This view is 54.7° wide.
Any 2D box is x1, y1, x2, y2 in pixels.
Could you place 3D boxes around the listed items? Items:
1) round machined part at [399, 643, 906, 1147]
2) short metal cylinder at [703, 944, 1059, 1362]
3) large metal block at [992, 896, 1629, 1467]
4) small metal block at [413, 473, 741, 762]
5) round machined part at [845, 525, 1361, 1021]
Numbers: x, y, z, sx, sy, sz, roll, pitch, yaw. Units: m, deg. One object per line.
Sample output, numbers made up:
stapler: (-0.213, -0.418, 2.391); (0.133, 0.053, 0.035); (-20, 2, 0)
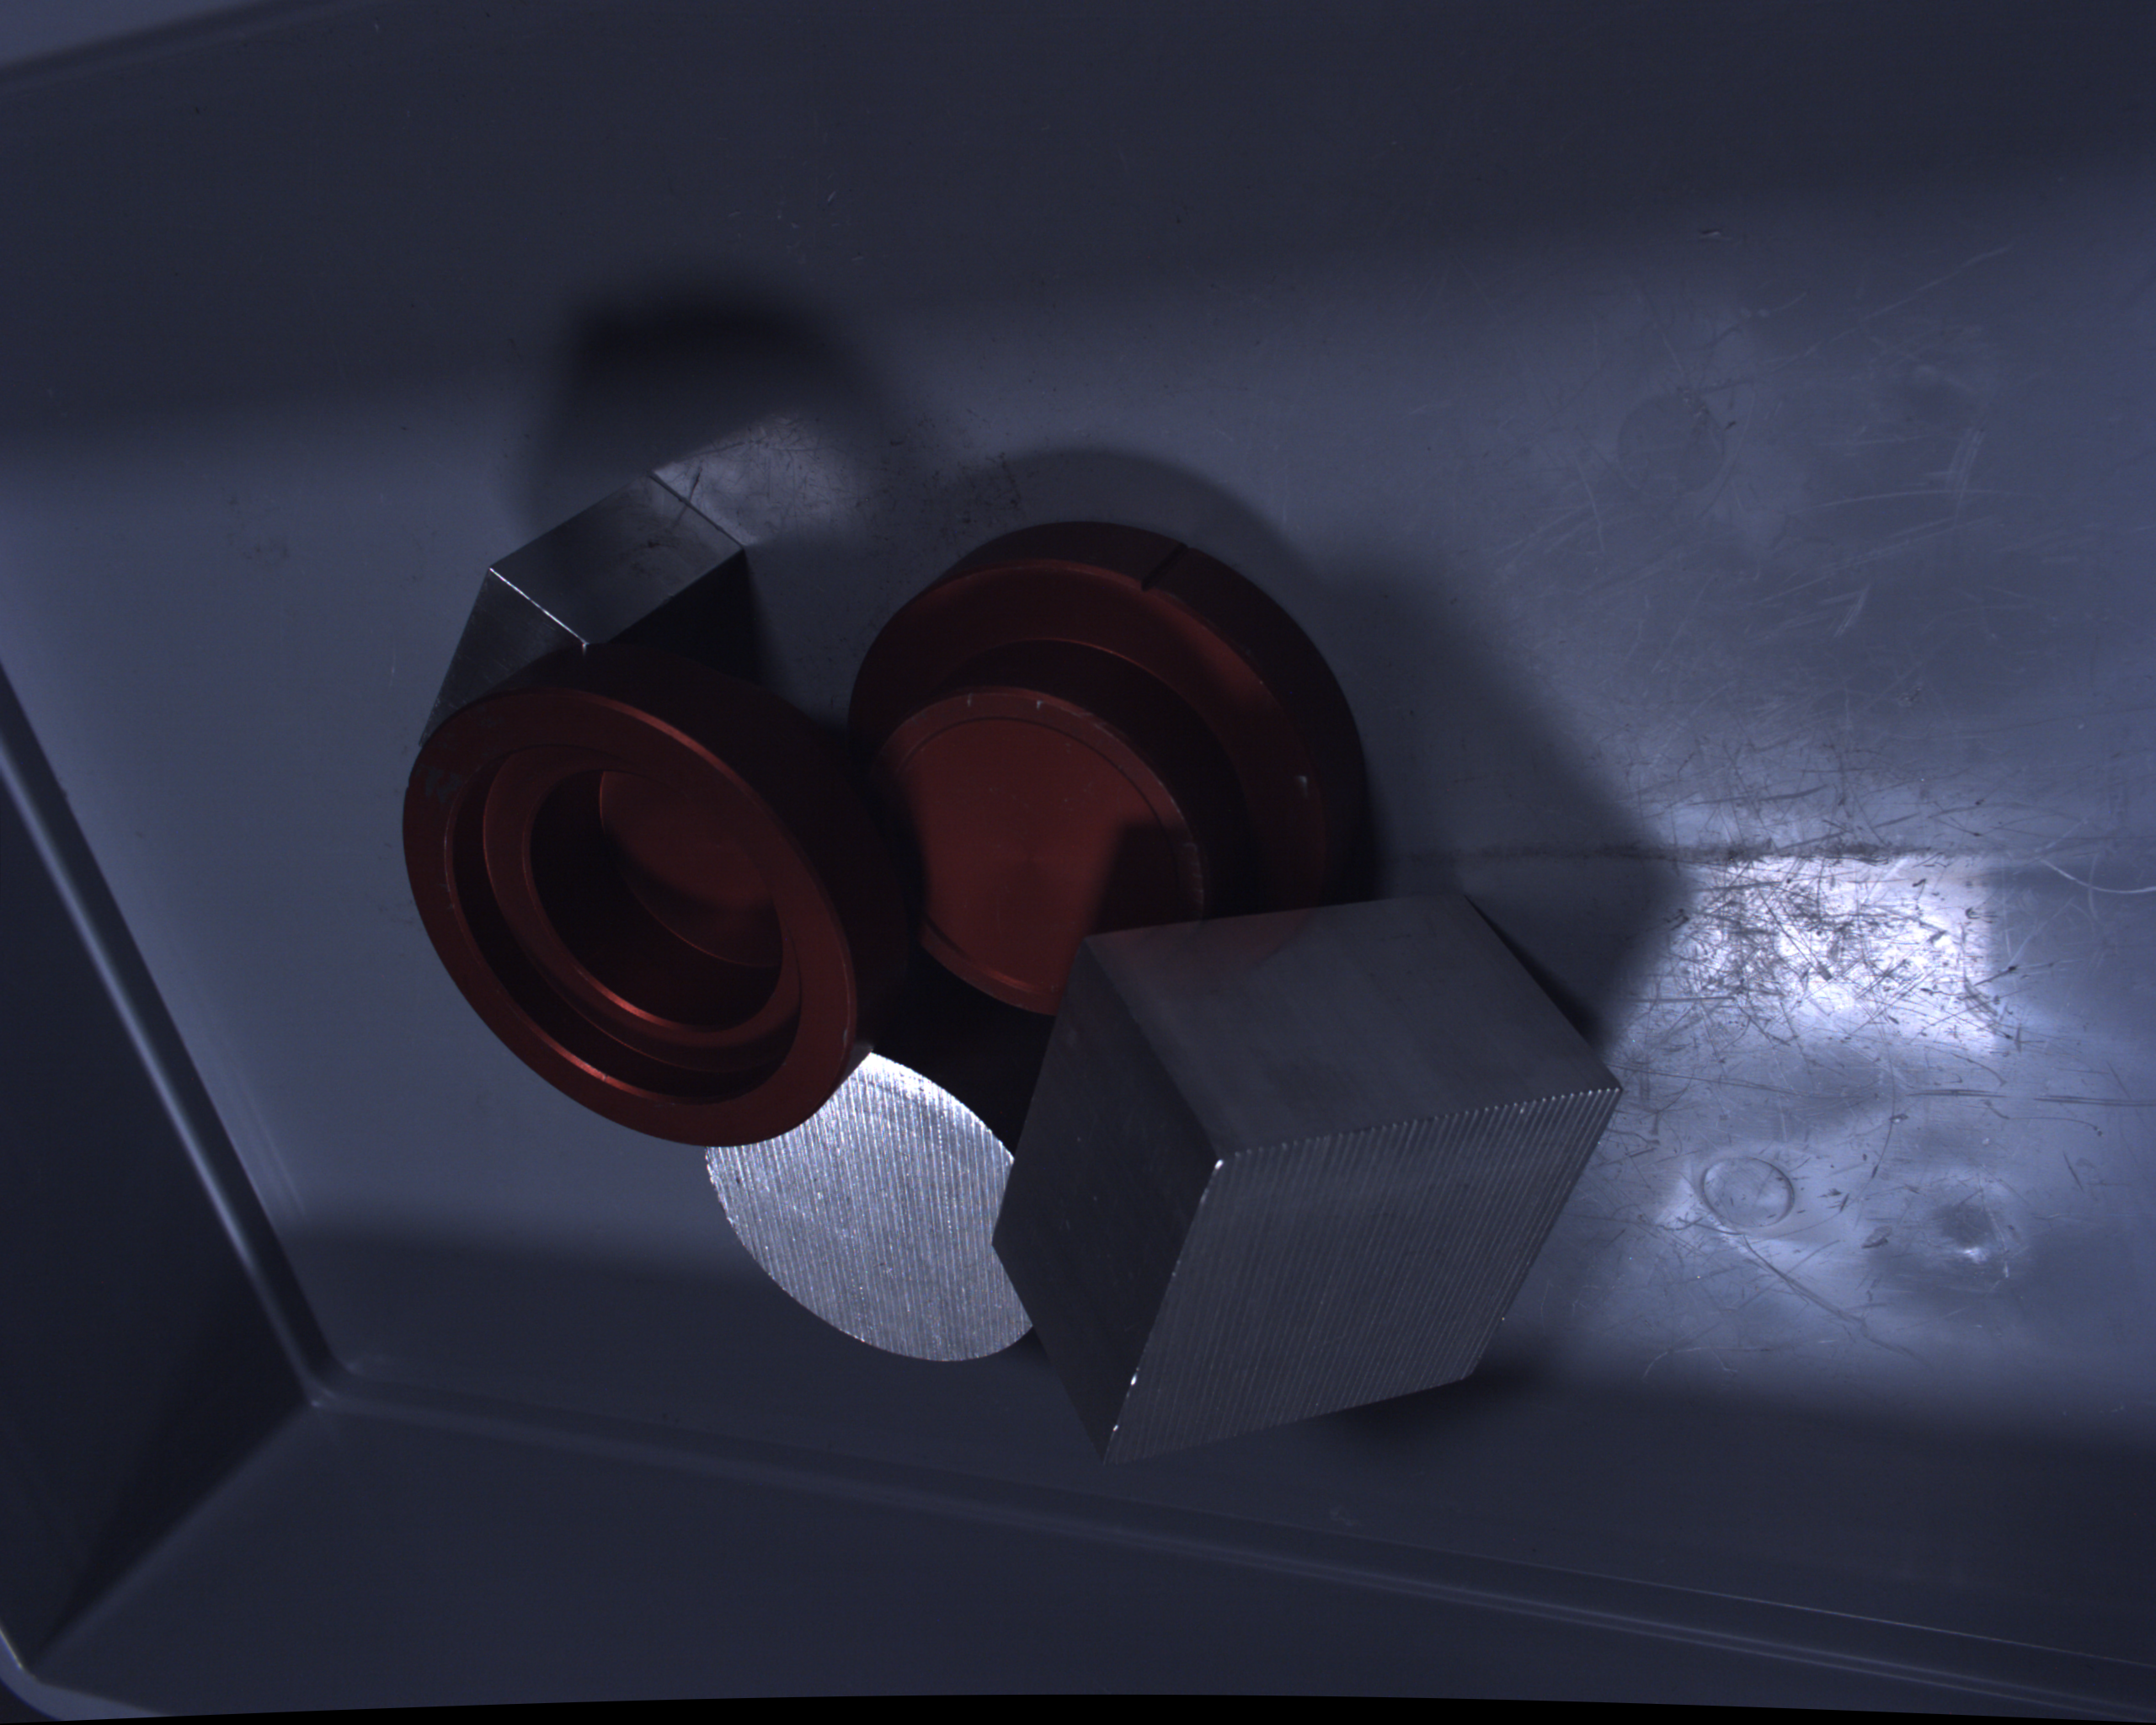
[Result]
round machined part: (-0.076, 0.003, 0.398); (0.098, 0.042, 0.097); (13, 124, 20)
short metal cylinder: (-0.031, 0.058, 0.441); (0.080, 0.050, 0.079); (13, 124, 20)
large metal block: (0.039, 0.056, 0.375); (0.050, 0.081, 0.079); (57, 142, 42)
small metal block: (-0.099, -0.043, 0.414); (0.025, 0.050, 0.050); (38, 129, 2)
round machined part: (-0.001, -0.009, 0.387); (0.098, 0.042, 0.097); (13, 124, 20)
